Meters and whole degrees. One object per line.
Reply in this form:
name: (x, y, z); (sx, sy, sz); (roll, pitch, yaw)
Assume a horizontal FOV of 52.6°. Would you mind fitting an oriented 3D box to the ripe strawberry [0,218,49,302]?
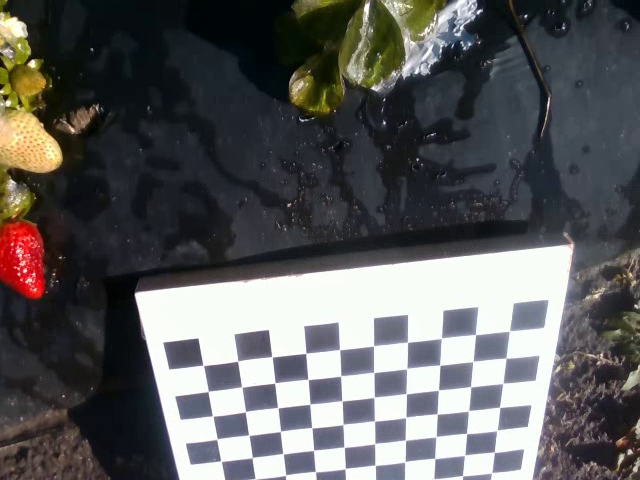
ripe strawberry: (-0.185, 0.018, 0.393); (0.041, 0.052, 0.040); (-22, 22, 5)
